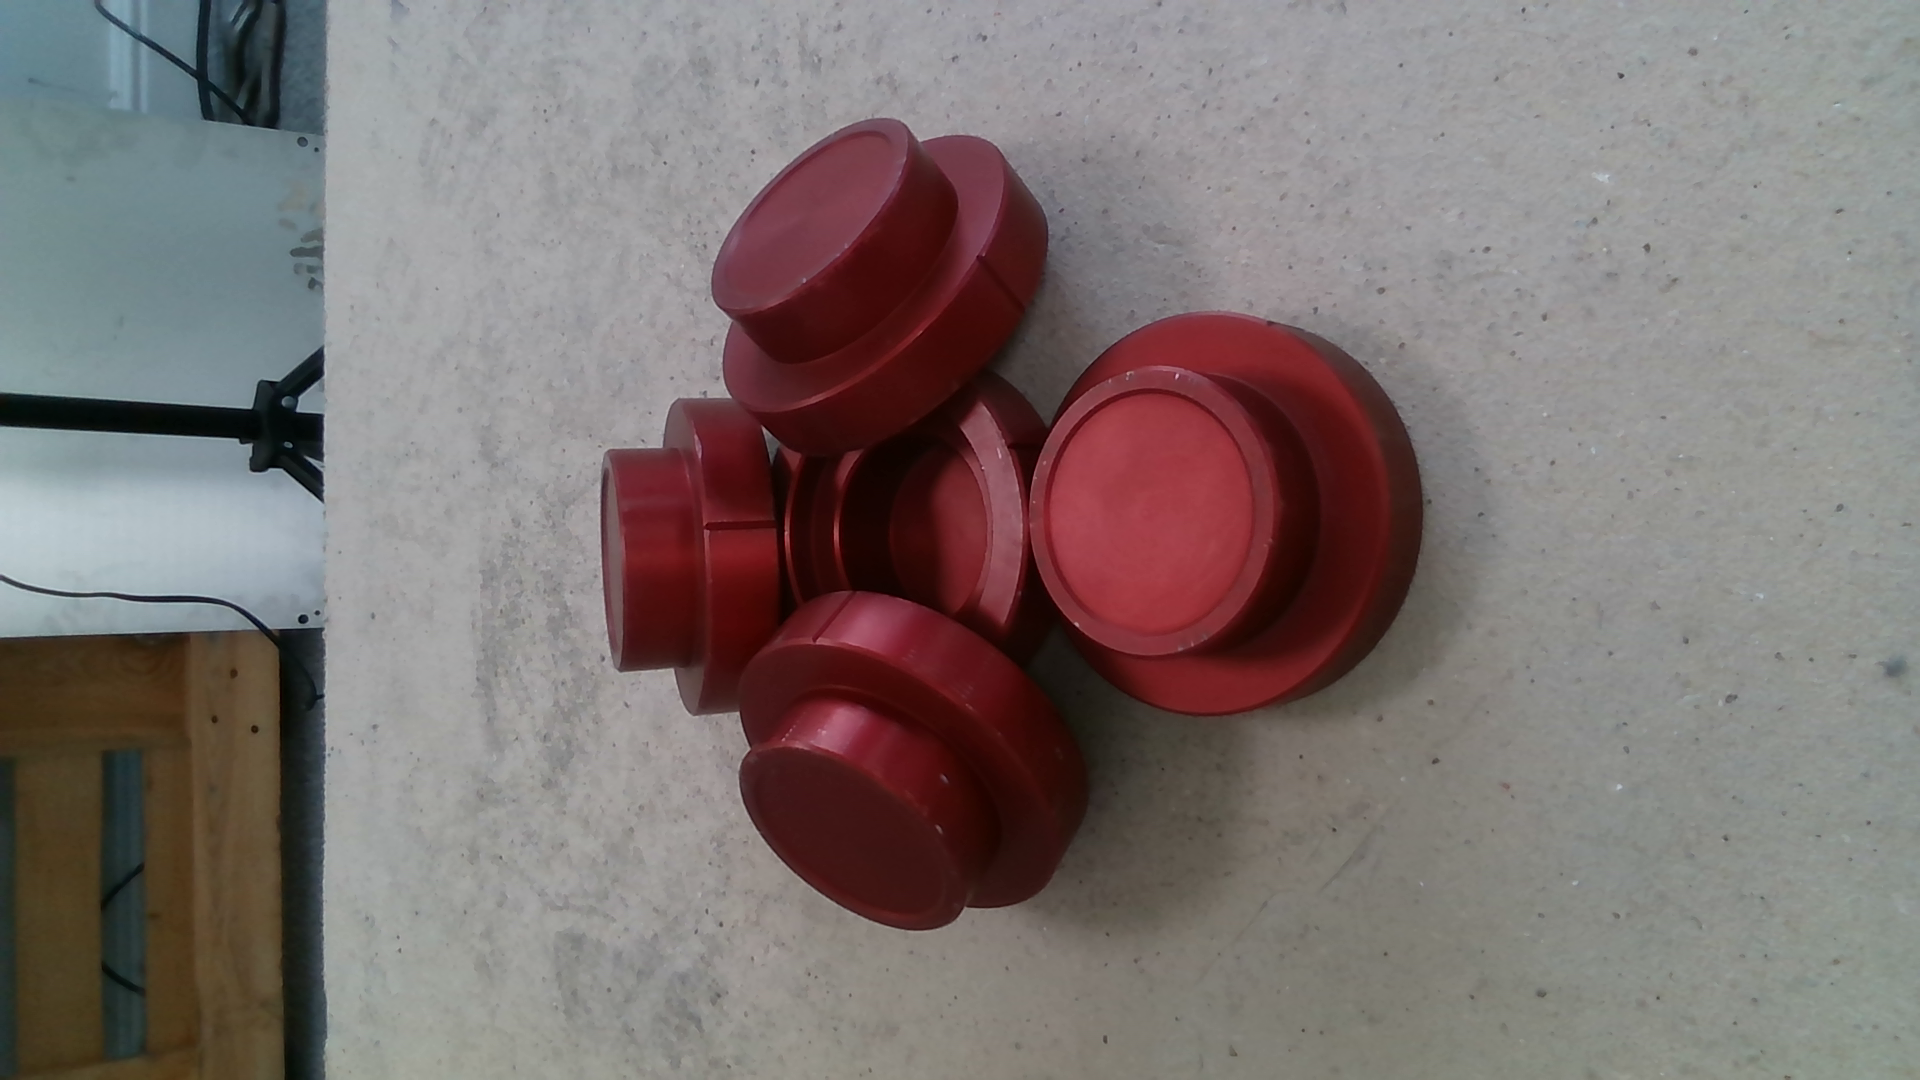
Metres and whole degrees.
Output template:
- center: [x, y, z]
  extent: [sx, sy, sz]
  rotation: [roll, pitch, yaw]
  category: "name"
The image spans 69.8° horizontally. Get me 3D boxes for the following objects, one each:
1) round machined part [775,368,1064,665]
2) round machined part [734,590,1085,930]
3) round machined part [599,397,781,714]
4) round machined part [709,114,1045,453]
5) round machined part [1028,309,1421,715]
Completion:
- center: [-0.008, -0.002, 0.386]
  extent: [0.098, 0.042, 0.098]
  rotation: [-2, 87, 39]
  category: "round machined part"
- center: [-0.020, 0.064, 0.364]
  extent: [0.098, 0.042, 0.098]
  rotation: [20, 136, 21]
  category: "round machined part"
- center: [-0.086, 0.005, 0.425]
  extent: [0.098, 0.042, 0.098]
  rotation: [177, 91, -70]
  category: "round machined part"
- center: [-0.029, -0.075, 0.372]
  extent: [0.098, 0.042, 0.098]
  rotation: [-26, 41, 26]
  category: "round machined part"
- center: [0.056, -0.007, 0.332]
  extent: [0.098, 0.042, 0.098]
  rotation: [0, 90, 39]
  category: "round machined part"
